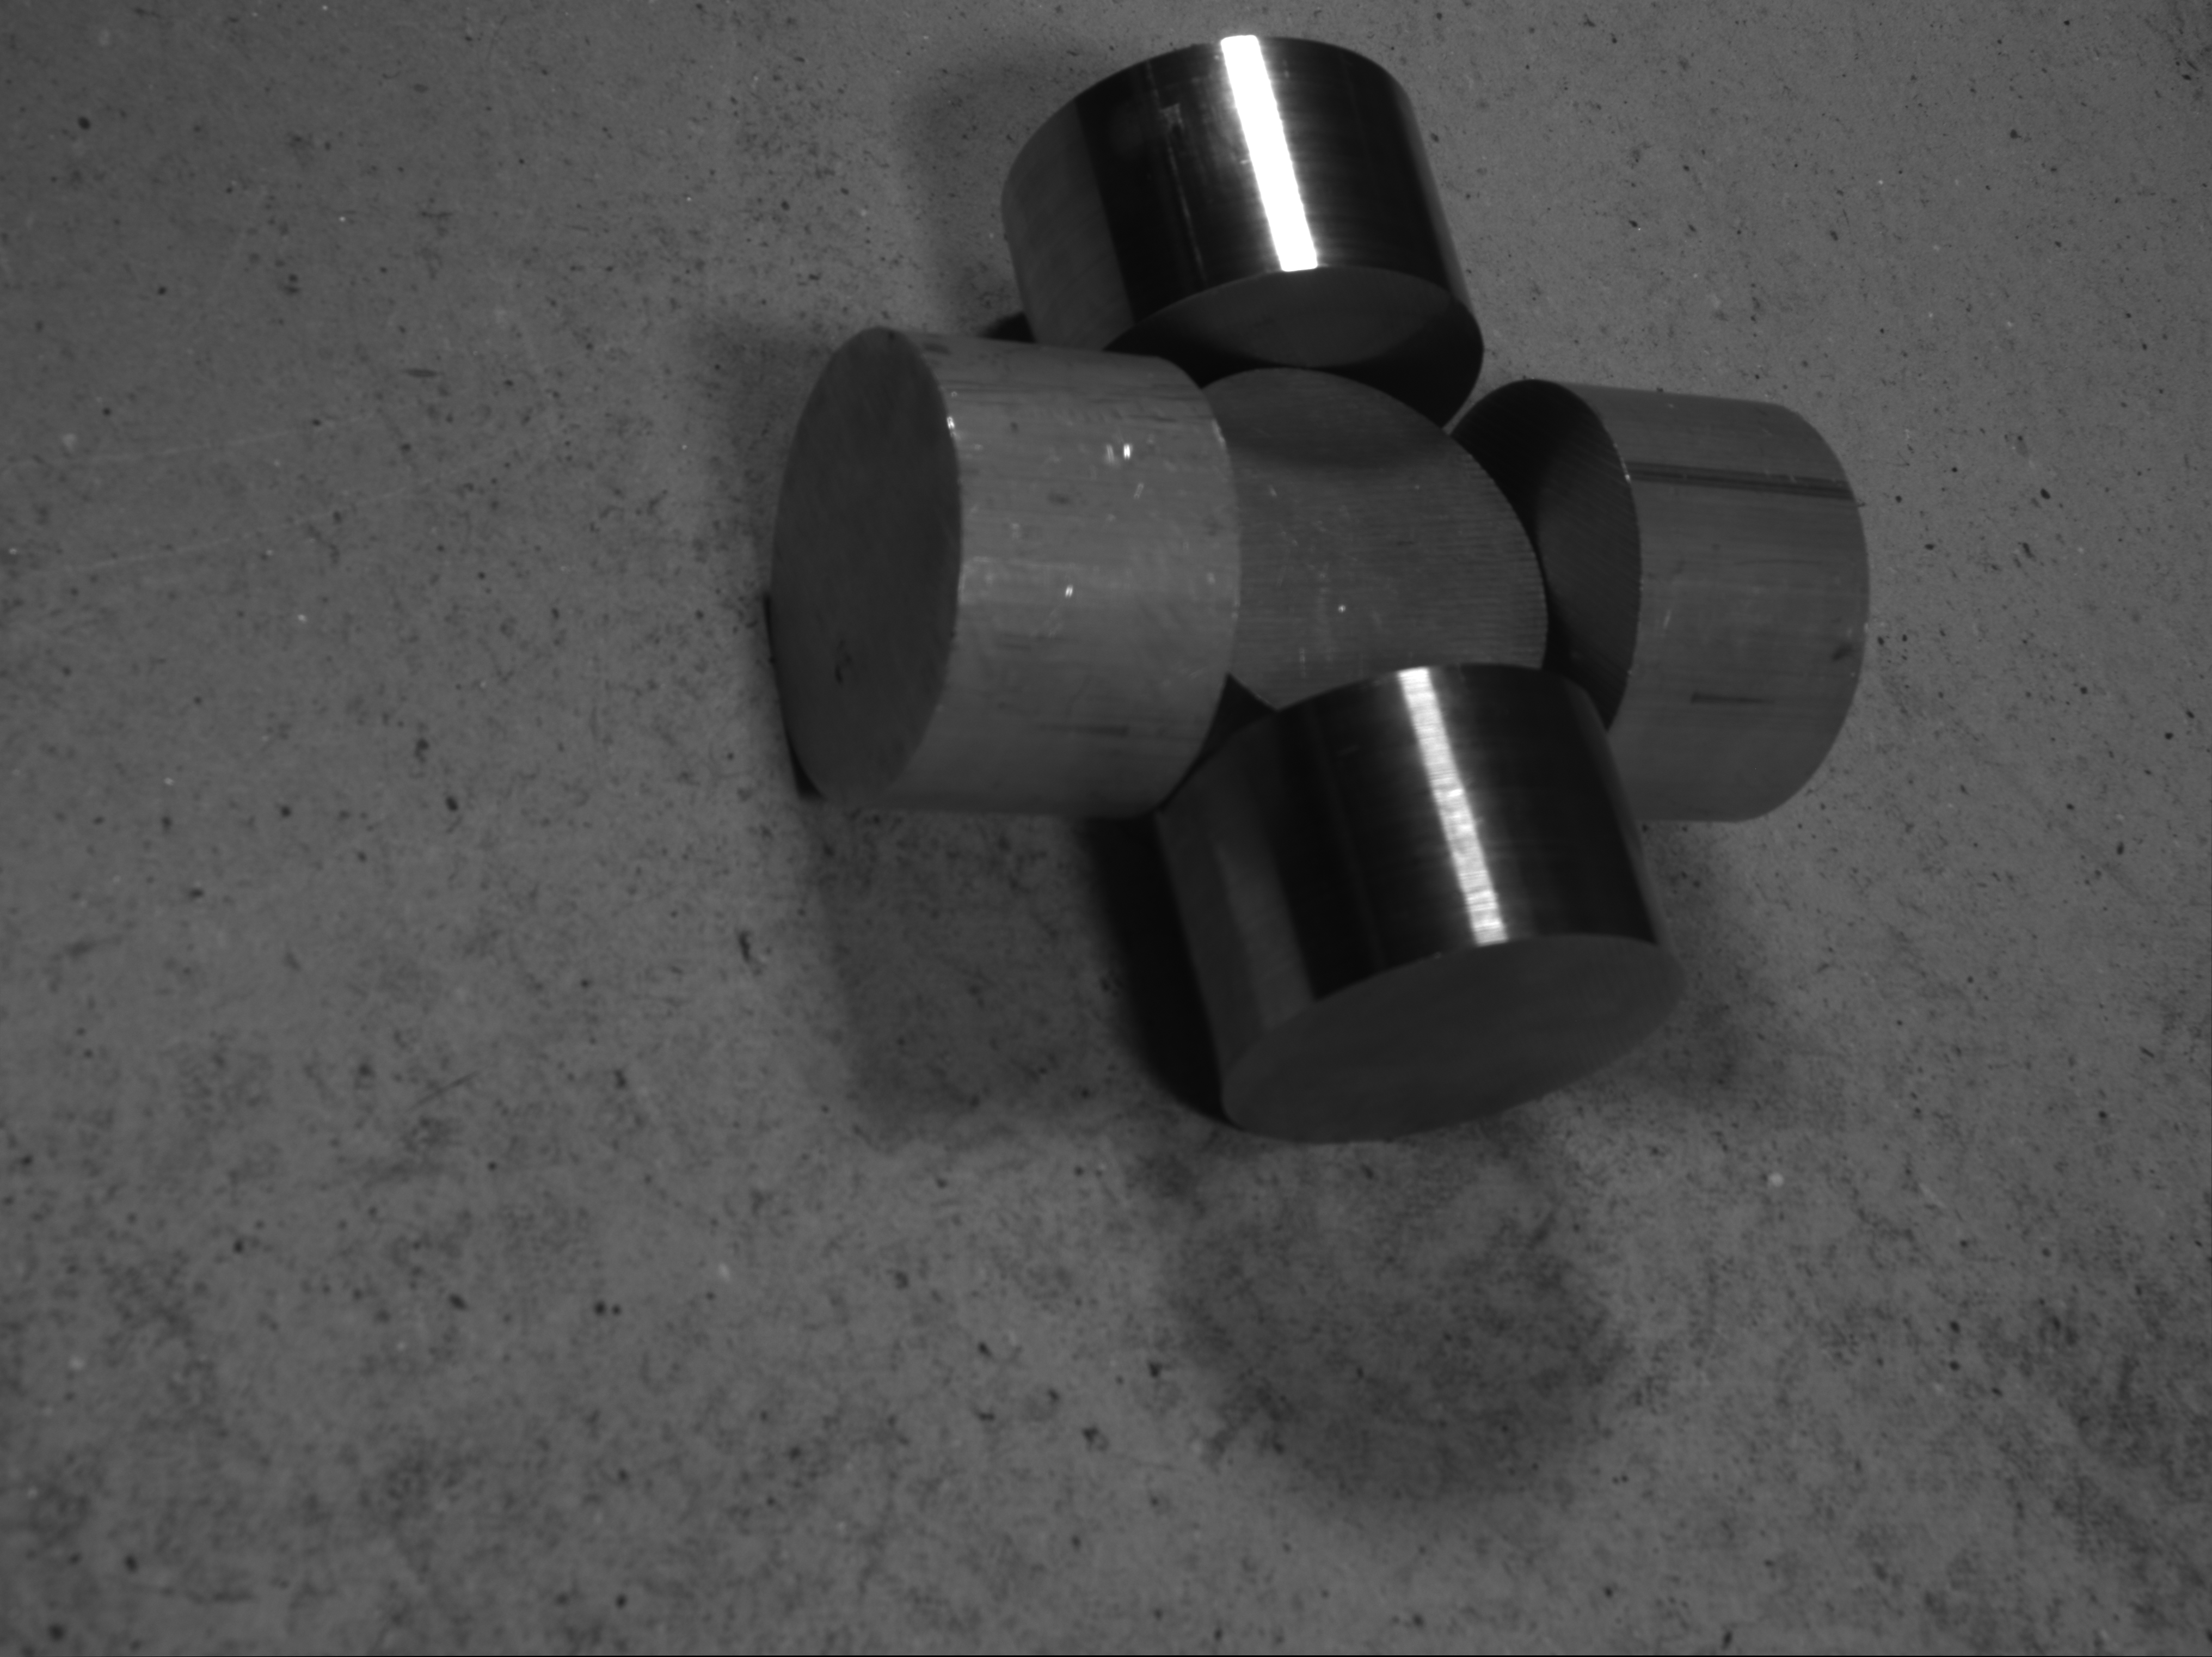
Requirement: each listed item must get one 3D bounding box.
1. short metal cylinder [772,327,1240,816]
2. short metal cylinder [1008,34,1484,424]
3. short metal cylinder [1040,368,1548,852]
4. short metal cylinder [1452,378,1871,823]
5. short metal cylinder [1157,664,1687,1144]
[{"bbox_3d":[-0.019,-0.043,0.621,0.050,0.080,0.080,2,61,-27],"label":"short metal cylinder"},{"bbox_3d":[0.025,-0.102,0.679,0.080,0.080,0.050,2,61,-27],"label":"short metal cylinder"},{"bbox_3d":[0.033,-0.036,0.664,0.080,0.050,0.080,14,56,-21],"label":"short metal cylinder"},{"bbox_3d":[0.097,-0.042,0.682,0.050,0.080,0.080,2,61,-27],"label":"short metal cylinder"},{"bbox_3d":[0.053,0.014,0.624,0.080,0.080,0.050,1,61,-28],"label":"short metal cylinder"}]
